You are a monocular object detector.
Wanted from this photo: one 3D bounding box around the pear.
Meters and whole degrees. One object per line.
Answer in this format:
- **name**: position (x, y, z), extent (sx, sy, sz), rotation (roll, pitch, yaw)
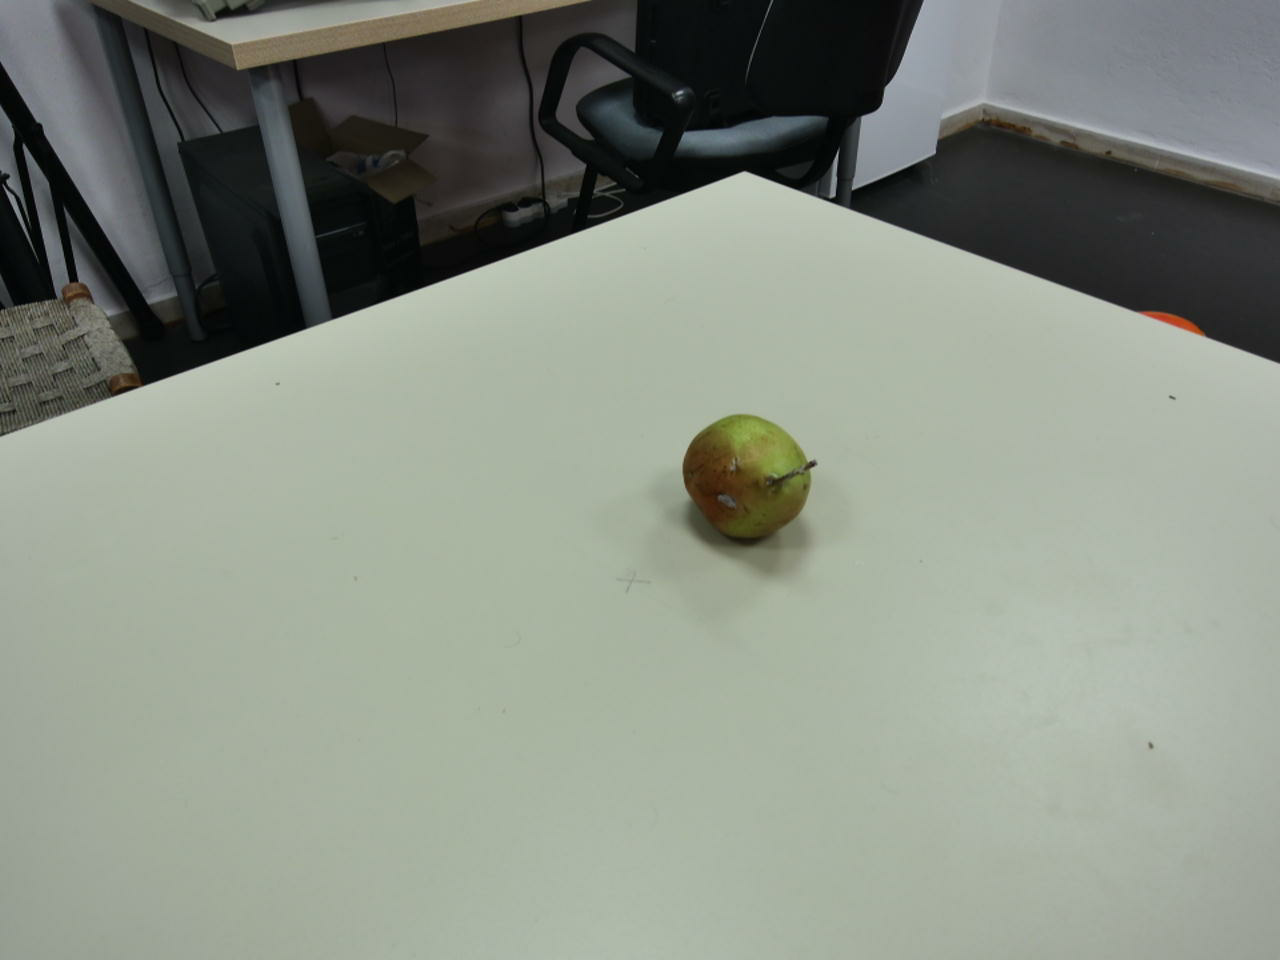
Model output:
- **pear**: position (0.055, -0.003, 0.521), extent (0.068, 0.069, 0.070), rotation (8, 37, 9)
